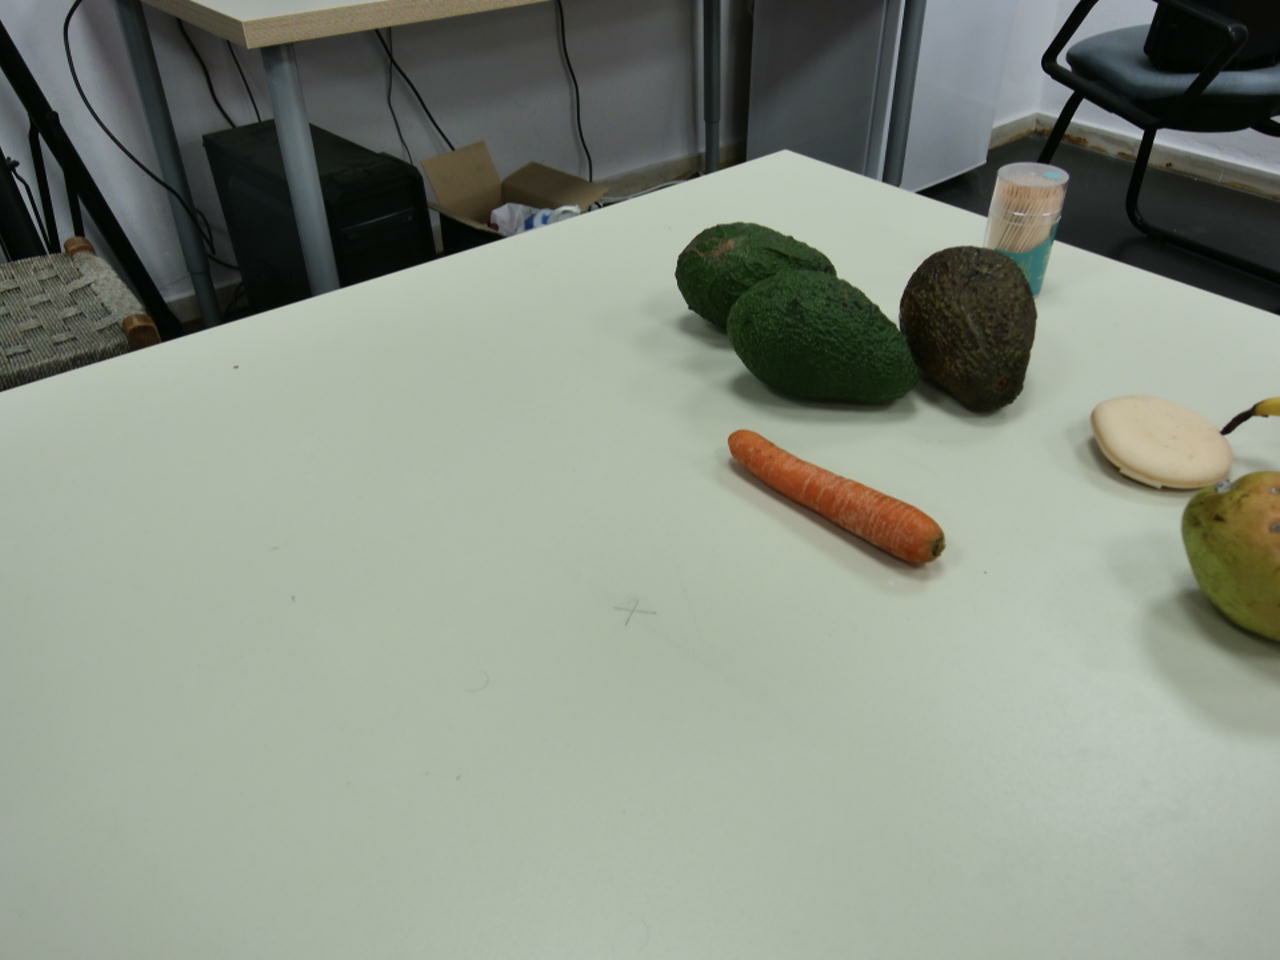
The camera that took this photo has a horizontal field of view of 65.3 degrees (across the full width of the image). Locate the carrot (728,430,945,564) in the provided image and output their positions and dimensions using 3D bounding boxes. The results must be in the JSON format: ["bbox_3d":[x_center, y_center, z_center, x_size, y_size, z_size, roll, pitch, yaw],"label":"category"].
[{"bbox_3d":[0.086,0.005,0.457,0.024,0.023,0.122,-26,42,-32],"label":"carrot"}]
